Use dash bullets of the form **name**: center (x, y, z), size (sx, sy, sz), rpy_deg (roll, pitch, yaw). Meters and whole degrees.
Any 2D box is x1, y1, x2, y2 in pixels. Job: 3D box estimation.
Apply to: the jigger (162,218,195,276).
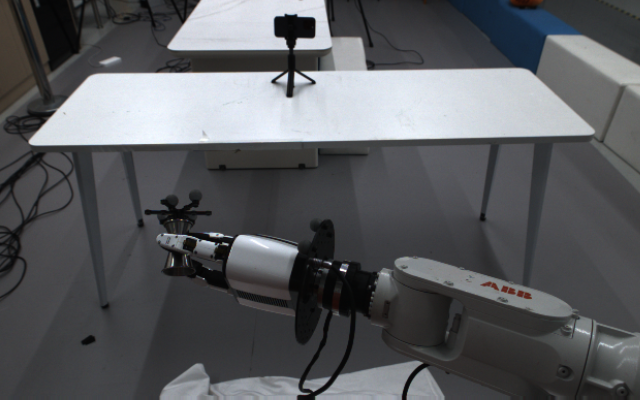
- **jigger**: center (-0.191, 0.065, 0.653), size (0.043, 0.043, 0.071), rpy_deg (-4, 67, -8)
